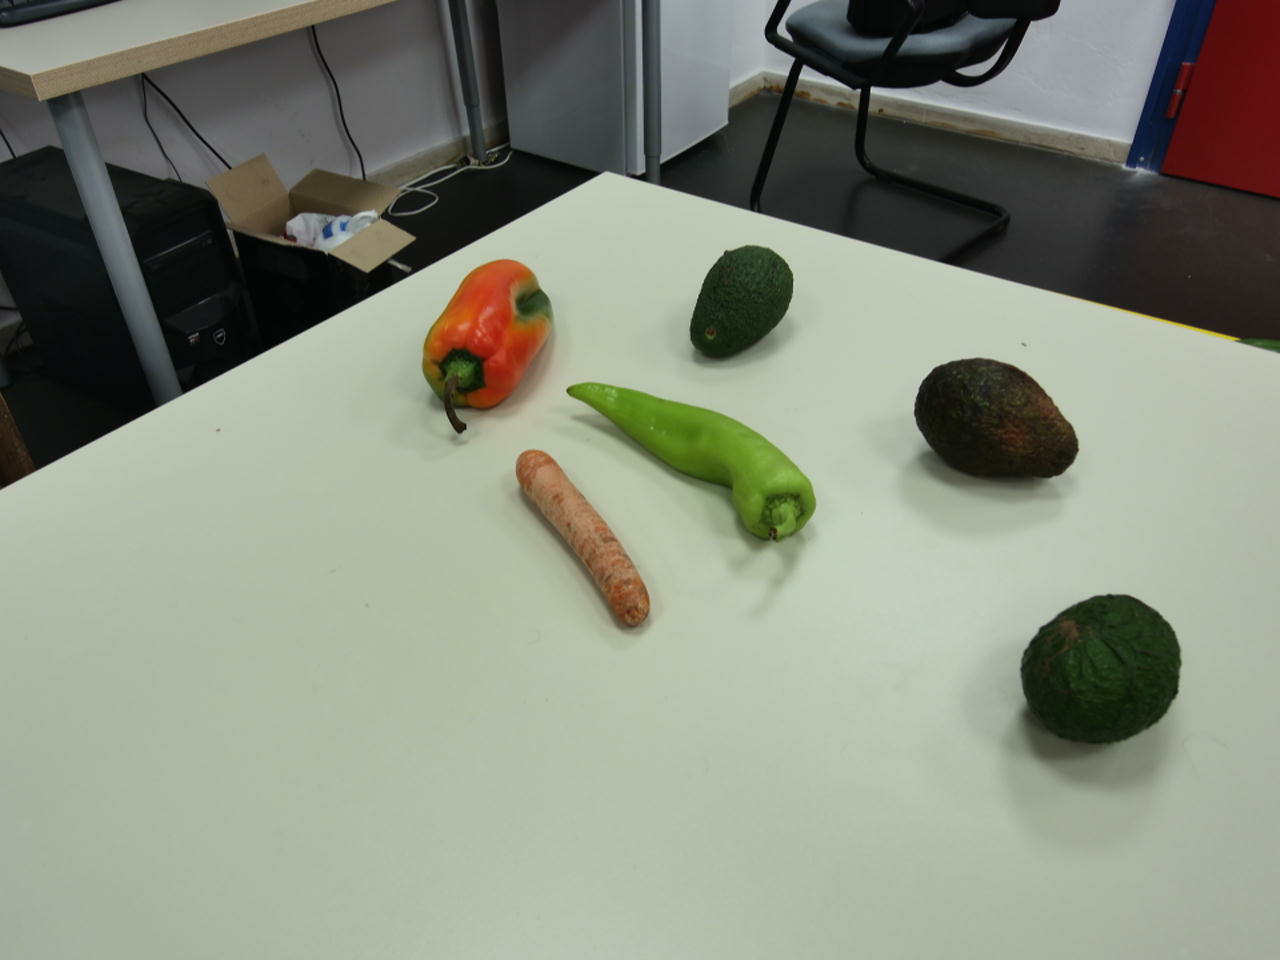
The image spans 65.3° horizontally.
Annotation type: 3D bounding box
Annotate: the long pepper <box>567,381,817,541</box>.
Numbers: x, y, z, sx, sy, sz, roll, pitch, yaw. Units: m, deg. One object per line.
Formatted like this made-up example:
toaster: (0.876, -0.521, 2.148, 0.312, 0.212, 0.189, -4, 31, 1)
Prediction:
long pepper: (0.036, -0.022, 0.619, 0.065, 0.045, 0.204, -25, 44, -28)
